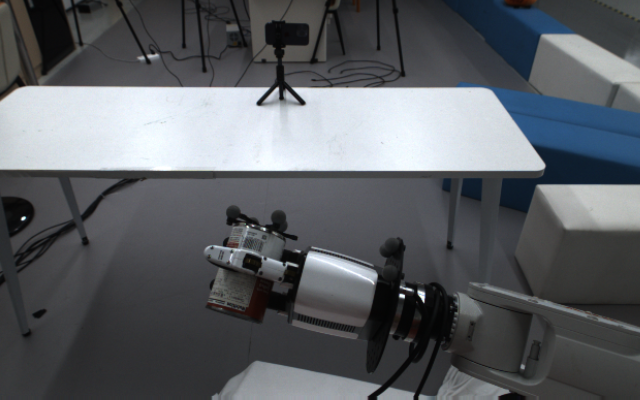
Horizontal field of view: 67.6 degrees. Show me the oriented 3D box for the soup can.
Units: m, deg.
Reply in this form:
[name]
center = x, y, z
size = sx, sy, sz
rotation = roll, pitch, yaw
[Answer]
[soup can]
center = -0.083, 0.086, 0.563
size = 0.067, 0.067, 0.101
rotation = 11, 72, 13
